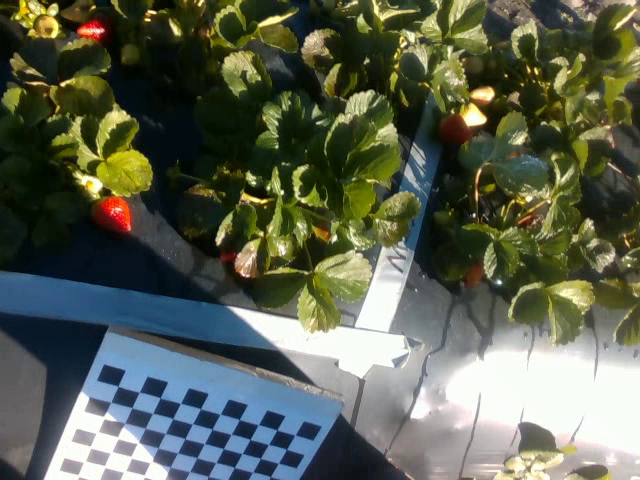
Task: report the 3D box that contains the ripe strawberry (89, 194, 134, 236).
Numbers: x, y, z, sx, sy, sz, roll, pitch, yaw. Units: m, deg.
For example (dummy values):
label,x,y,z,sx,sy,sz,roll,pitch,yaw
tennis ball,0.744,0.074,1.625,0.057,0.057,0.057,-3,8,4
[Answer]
label,x,y,z,sx,sy,sz,roll,pitch,yaw
ripe strawberry,-0.238,-0.029,0.553,0.046,0.058,0.042,-37,1,13
